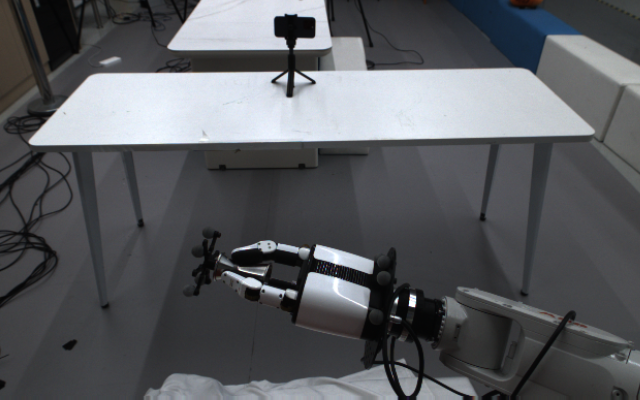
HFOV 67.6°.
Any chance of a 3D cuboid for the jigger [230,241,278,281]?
[{"bbox_3d":[-0.096,0.094,0.641,0.071,0.043,0.043,14,36,5],"label":"jigger"}]
